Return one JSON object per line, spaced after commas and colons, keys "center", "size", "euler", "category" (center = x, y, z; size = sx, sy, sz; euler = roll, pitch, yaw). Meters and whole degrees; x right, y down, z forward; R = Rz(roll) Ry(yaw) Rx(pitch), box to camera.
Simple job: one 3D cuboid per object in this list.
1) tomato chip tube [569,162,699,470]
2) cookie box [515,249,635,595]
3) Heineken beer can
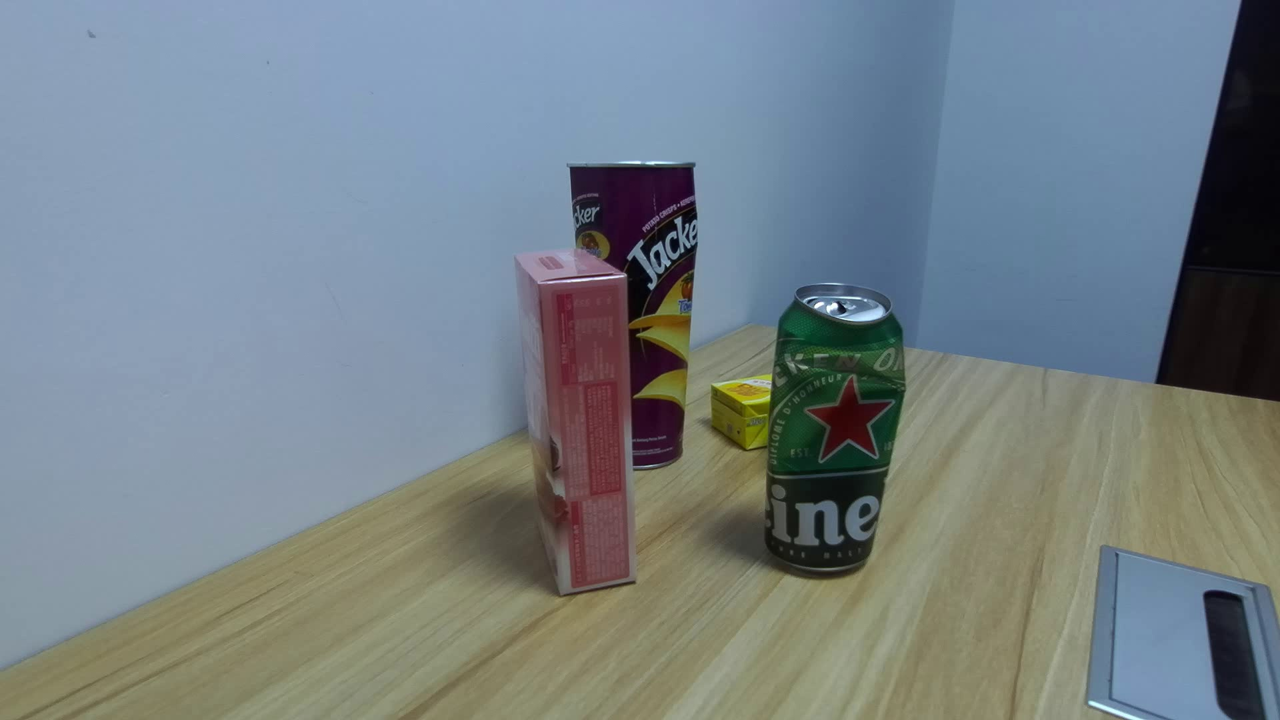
{"center": [-0.002, -0.035, 0.563], "size": [0.077, 0.235, 0.076], "euler": [12, 21, 36], "category": "tomato chip tube"}
{"center": [-0.038, 0.034, 0.425], "size": [0.048, 0.184, 0.096], "euler": [-6, 18, -15], "category": "cookie box"}
{"center": [0.112, 0.044, 0.419], "size": [0.068, 0.168, 0.069], "euler": [14, 24, 31], "category": "Heineken beer can"}
